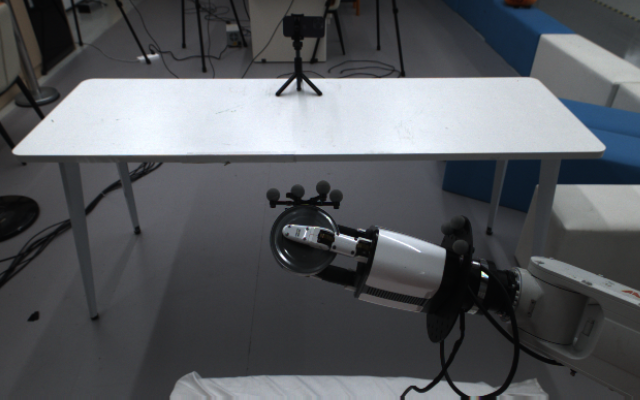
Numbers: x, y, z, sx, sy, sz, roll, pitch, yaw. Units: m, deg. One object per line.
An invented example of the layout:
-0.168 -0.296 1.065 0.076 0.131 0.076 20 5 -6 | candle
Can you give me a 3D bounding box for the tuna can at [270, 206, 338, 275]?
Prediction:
-0.017 0.054 0.591 0.085 0.034 0.085 1 69 -4 | tuna can
